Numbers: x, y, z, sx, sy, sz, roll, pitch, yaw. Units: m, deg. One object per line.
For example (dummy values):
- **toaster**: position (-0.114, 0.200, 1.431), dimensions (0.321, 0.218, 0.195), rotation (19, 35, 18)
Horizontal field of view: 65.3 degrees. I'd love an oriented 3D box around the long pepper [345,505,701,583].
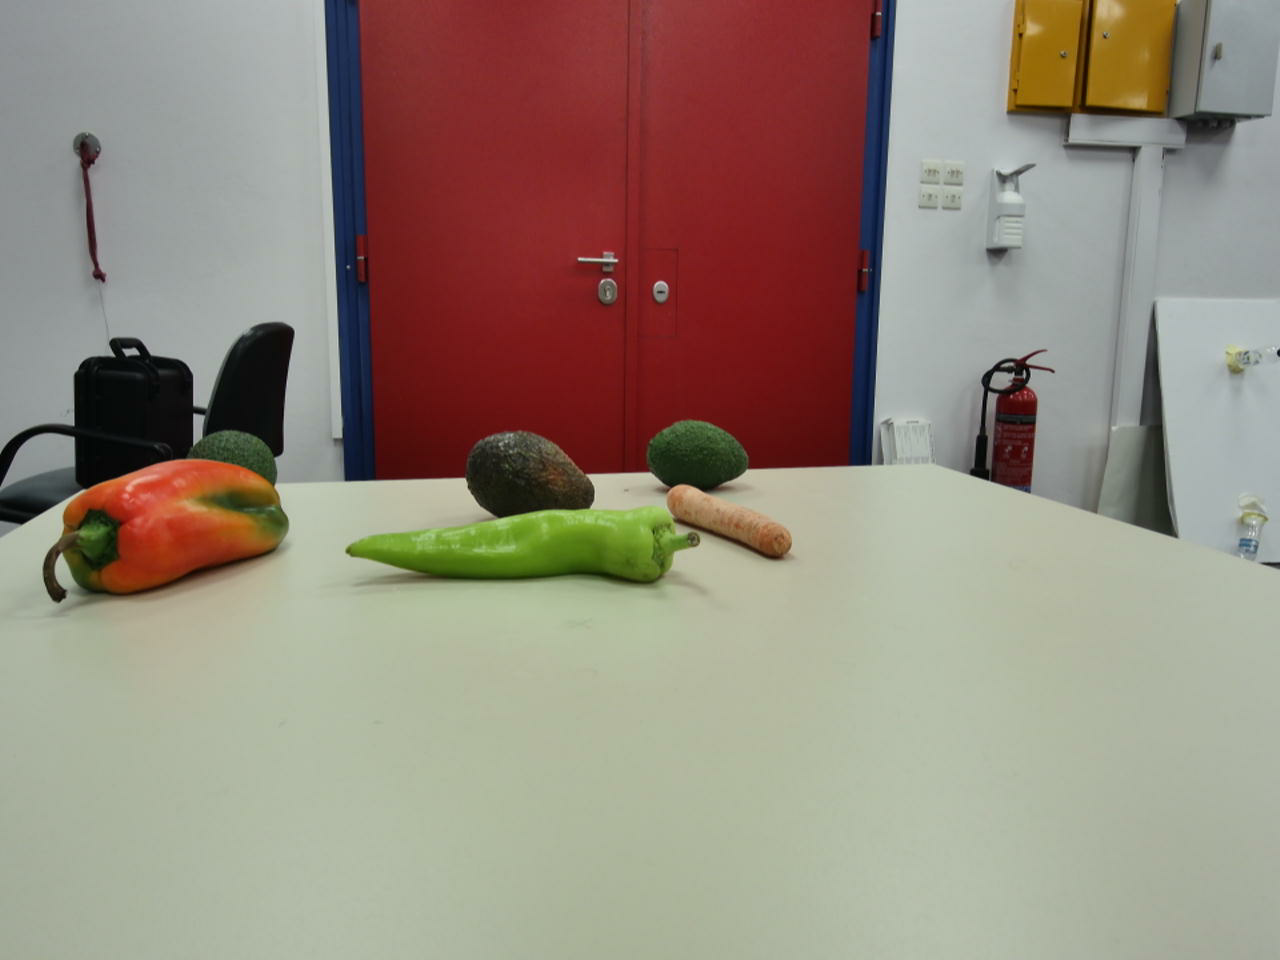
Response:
- **long pepper**: position (-0.065, 0.038, 0.600), dimensions (0.205, 0.045, 0.065), rotation (0, 8, 3)
